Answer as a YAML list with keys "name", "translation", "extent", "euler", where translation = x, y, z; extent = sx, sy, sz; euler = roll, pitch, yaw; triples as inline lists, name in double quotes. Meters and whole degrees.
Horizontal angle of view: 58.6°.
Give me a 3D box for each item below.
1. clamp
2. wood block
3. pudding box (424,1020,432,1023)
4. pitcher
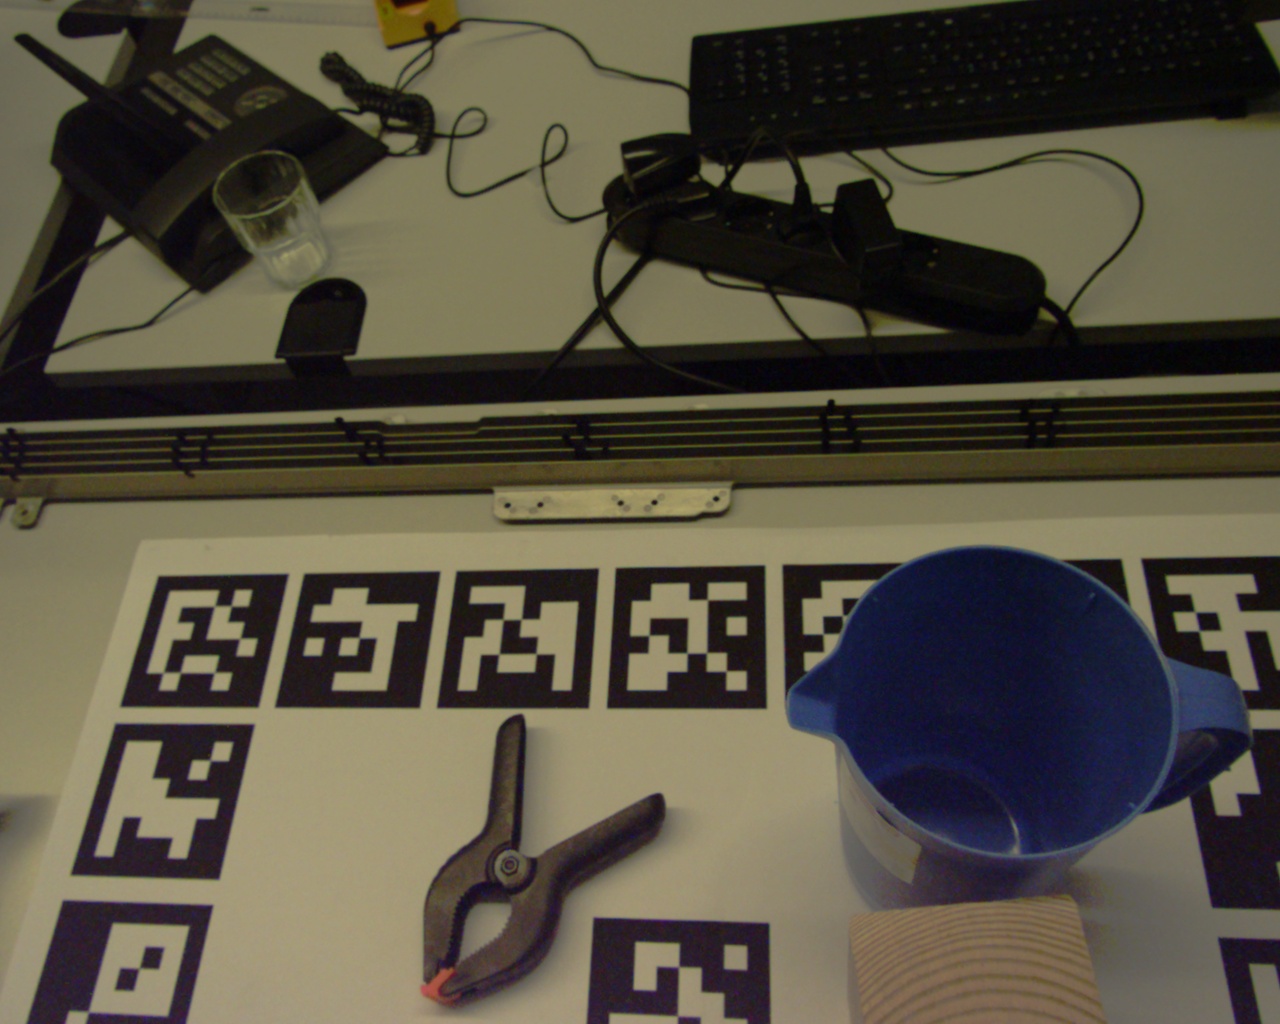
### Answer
- name: "clamp"
  translation: [-0.075, 0.215, 0.700]
  extent: [0.123, 0.036, 0.164]
  euler: [27, 68, 16]
- name: "wood block"
  translation: [0.136, 0.245, 0.531]
  extent: [0.090, 0.205, 0.091]
  euler: [-3, 58, 4]
- name: "pudding box"
  translation: [-0.104, 0.351, 0.615]
  extent: [0.115, 0.038, 0.090]
  euler: [33, 73, 27]
- name: "pitcher"
  translation: [0.164, 0.132, 0.577]
  extent: [0.190, 0.240, 0.133]
  euler: [-4, 56, 11]
